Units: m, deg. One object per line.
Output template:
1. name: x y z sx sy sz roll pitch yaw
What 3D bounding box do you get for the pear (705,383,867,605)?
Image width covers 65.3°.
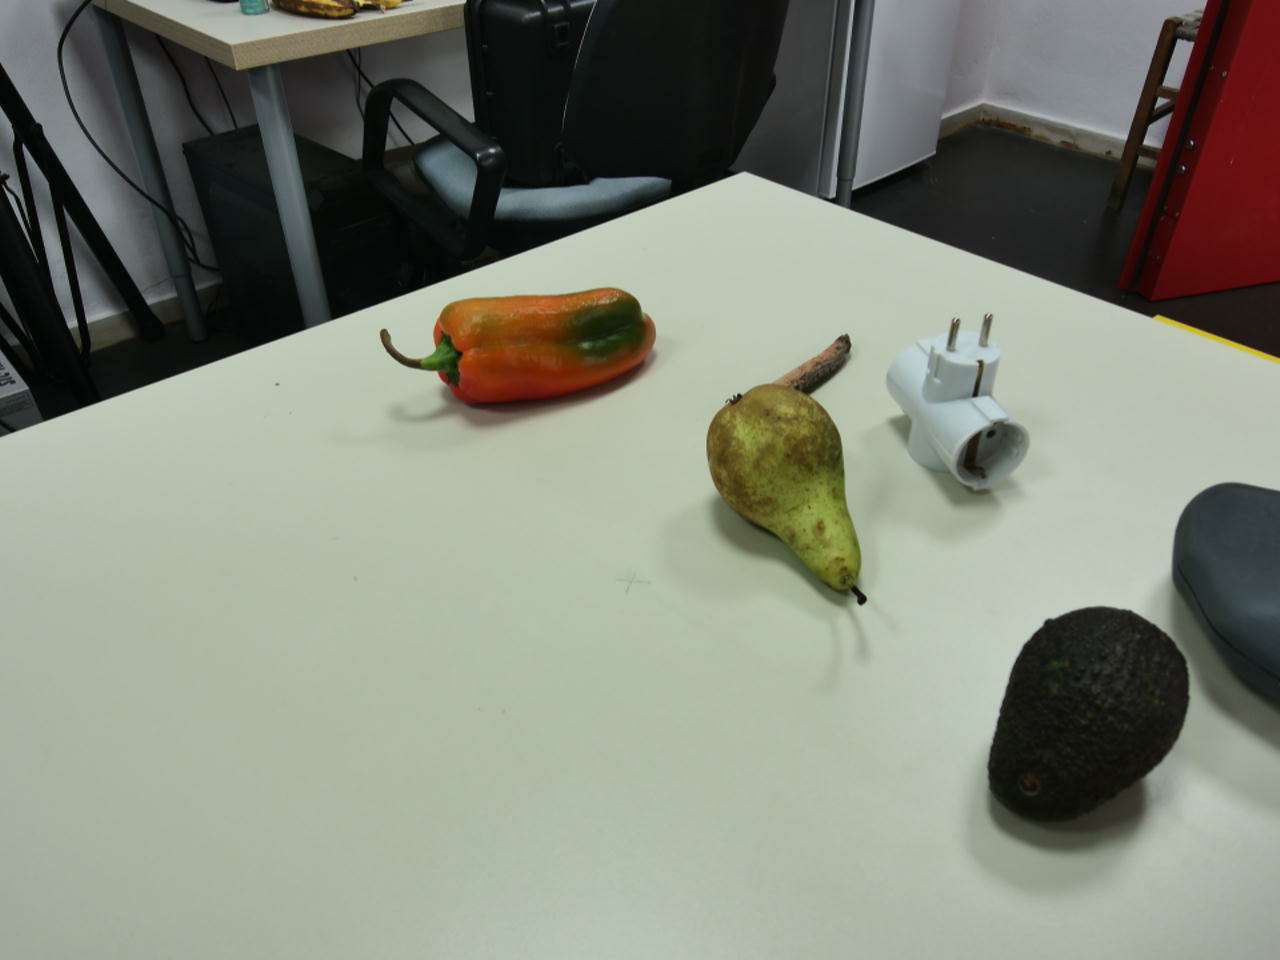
1. pear: 0.090 0.003 0.509 0.071 0.075 0.144 -22 41 -26
